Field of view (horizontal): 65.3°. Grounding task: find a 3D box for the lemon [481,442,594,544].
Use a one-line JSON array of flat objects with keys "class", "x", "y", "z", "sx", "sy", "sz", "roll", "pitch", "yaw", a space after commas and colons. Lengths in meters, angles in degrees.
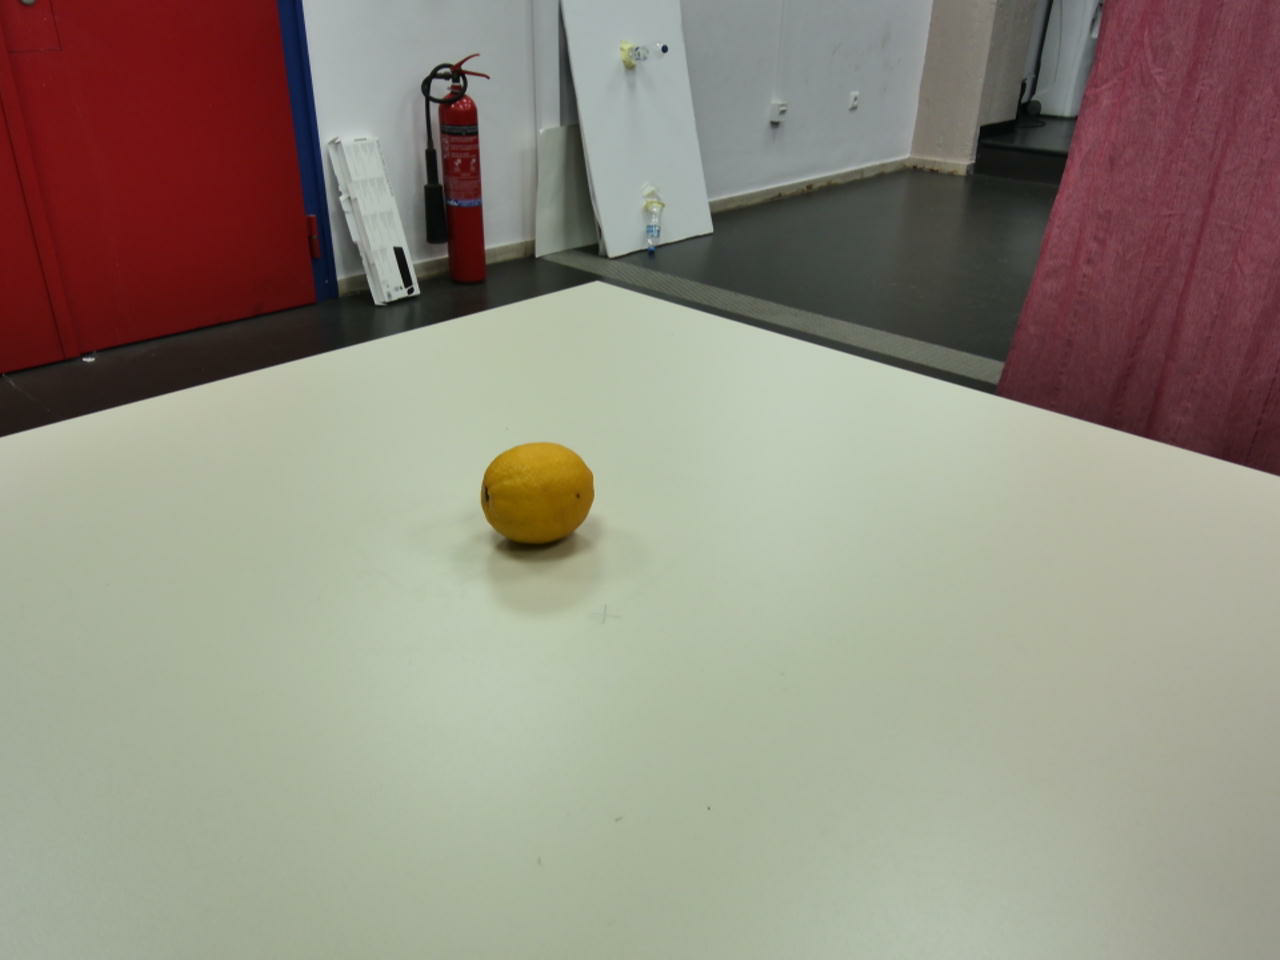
[{"class": "lemon", "x": -0.060, "y": 0.008, "z": 0.590, "sx": 0.067, "sy": 0.059, "sz": 0.060, "roll": -2, "pitch": 26, "yaw": -5}]
